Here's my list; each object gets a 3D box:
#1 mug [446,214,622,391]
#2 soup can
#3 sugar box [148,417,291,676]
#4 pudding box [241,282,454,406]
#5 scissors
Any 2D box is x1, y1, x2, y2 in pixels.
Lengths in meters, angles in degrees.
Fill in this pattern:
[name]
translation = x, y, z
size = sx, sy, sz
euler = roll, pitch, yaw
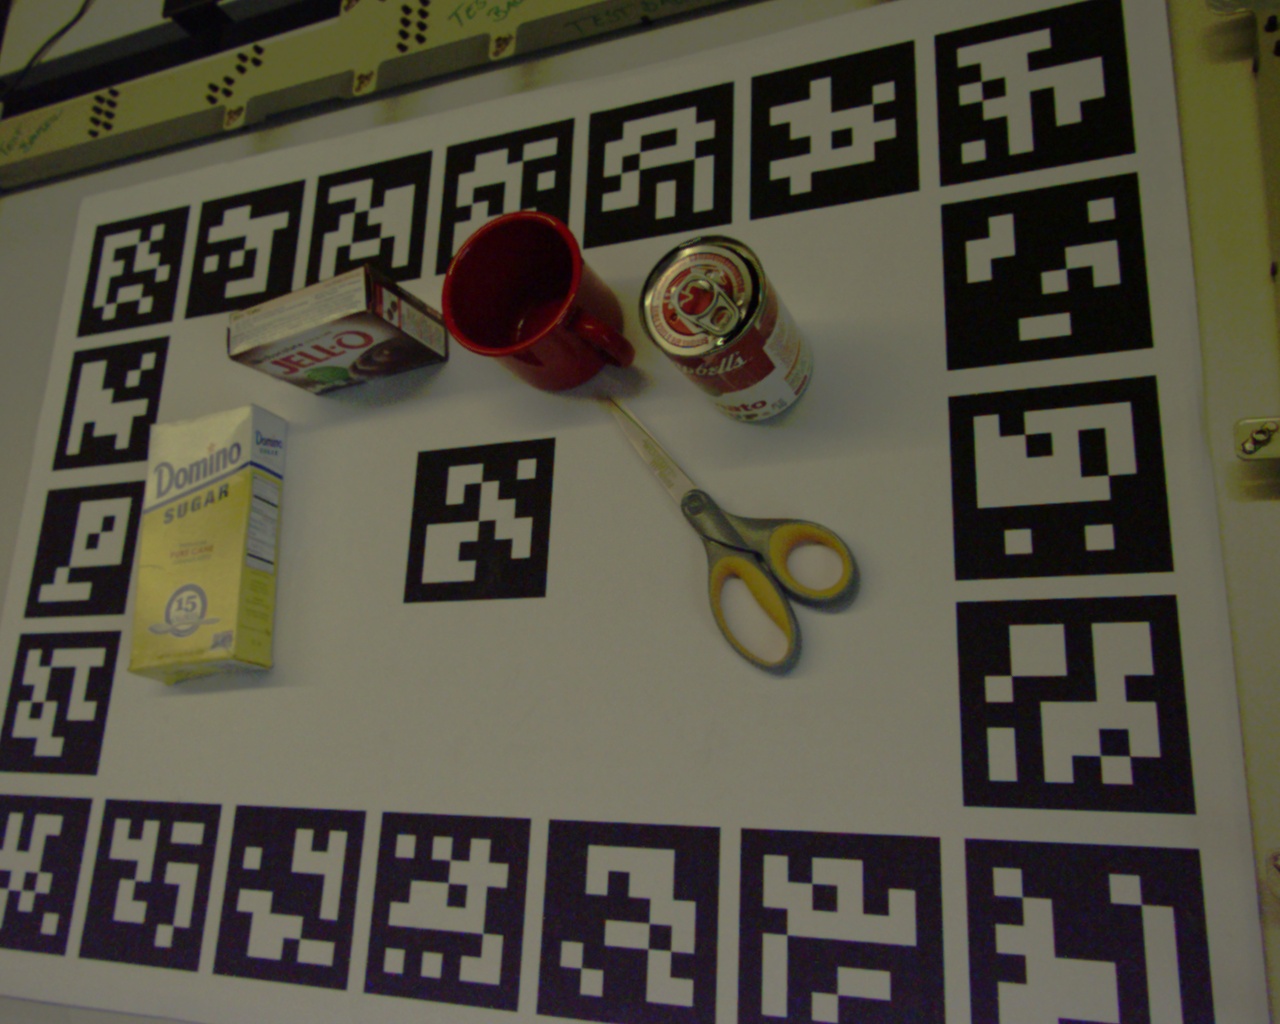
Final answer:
[mug]
translation = -0.057, -0.121, 0.723
size = 0.093, 0.080, 0.118
euler = -41, 63, 12
[soup can]
translation = 0.048, -0.091, 0.665
size = 0.068, 0.101, 0.068
euler = -7, 73, 23
[sugar box]
translation = -0.301, 0.026, 0.819
size = 0.094, 0.045, 0.177
euler = -8, 75, 24
[pudding box]
translation = -0.198, -0.112, 0.776
size = 0.115, 0.089, 0.039
euler = -14, 78, 20
[scissors]
translation = 0.037, 0.011, 0.681
size = 0.088, 0.015, 0.205
euler = -50, 64, 16
